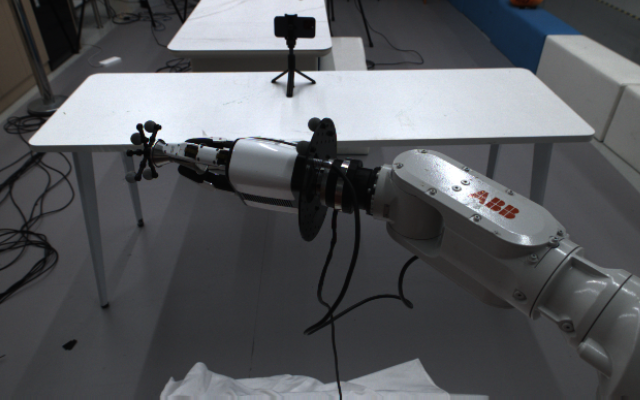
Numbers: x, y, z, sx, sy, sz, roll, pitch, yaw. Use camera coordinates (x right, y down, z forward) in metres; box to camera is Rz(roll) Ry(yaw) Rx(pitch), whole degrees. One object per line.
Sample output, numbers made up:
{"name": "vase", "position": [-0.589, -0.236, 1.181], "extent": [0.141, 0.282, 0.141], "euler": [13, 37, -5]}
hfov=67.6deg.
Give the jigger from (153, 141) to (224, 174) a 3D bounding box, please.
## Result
{"name": "jigger", "position": [-0.187, -0.063, 0.667], "extent": [0.071, 0.043, 0.043], "euler": [8, 35, 13]}
